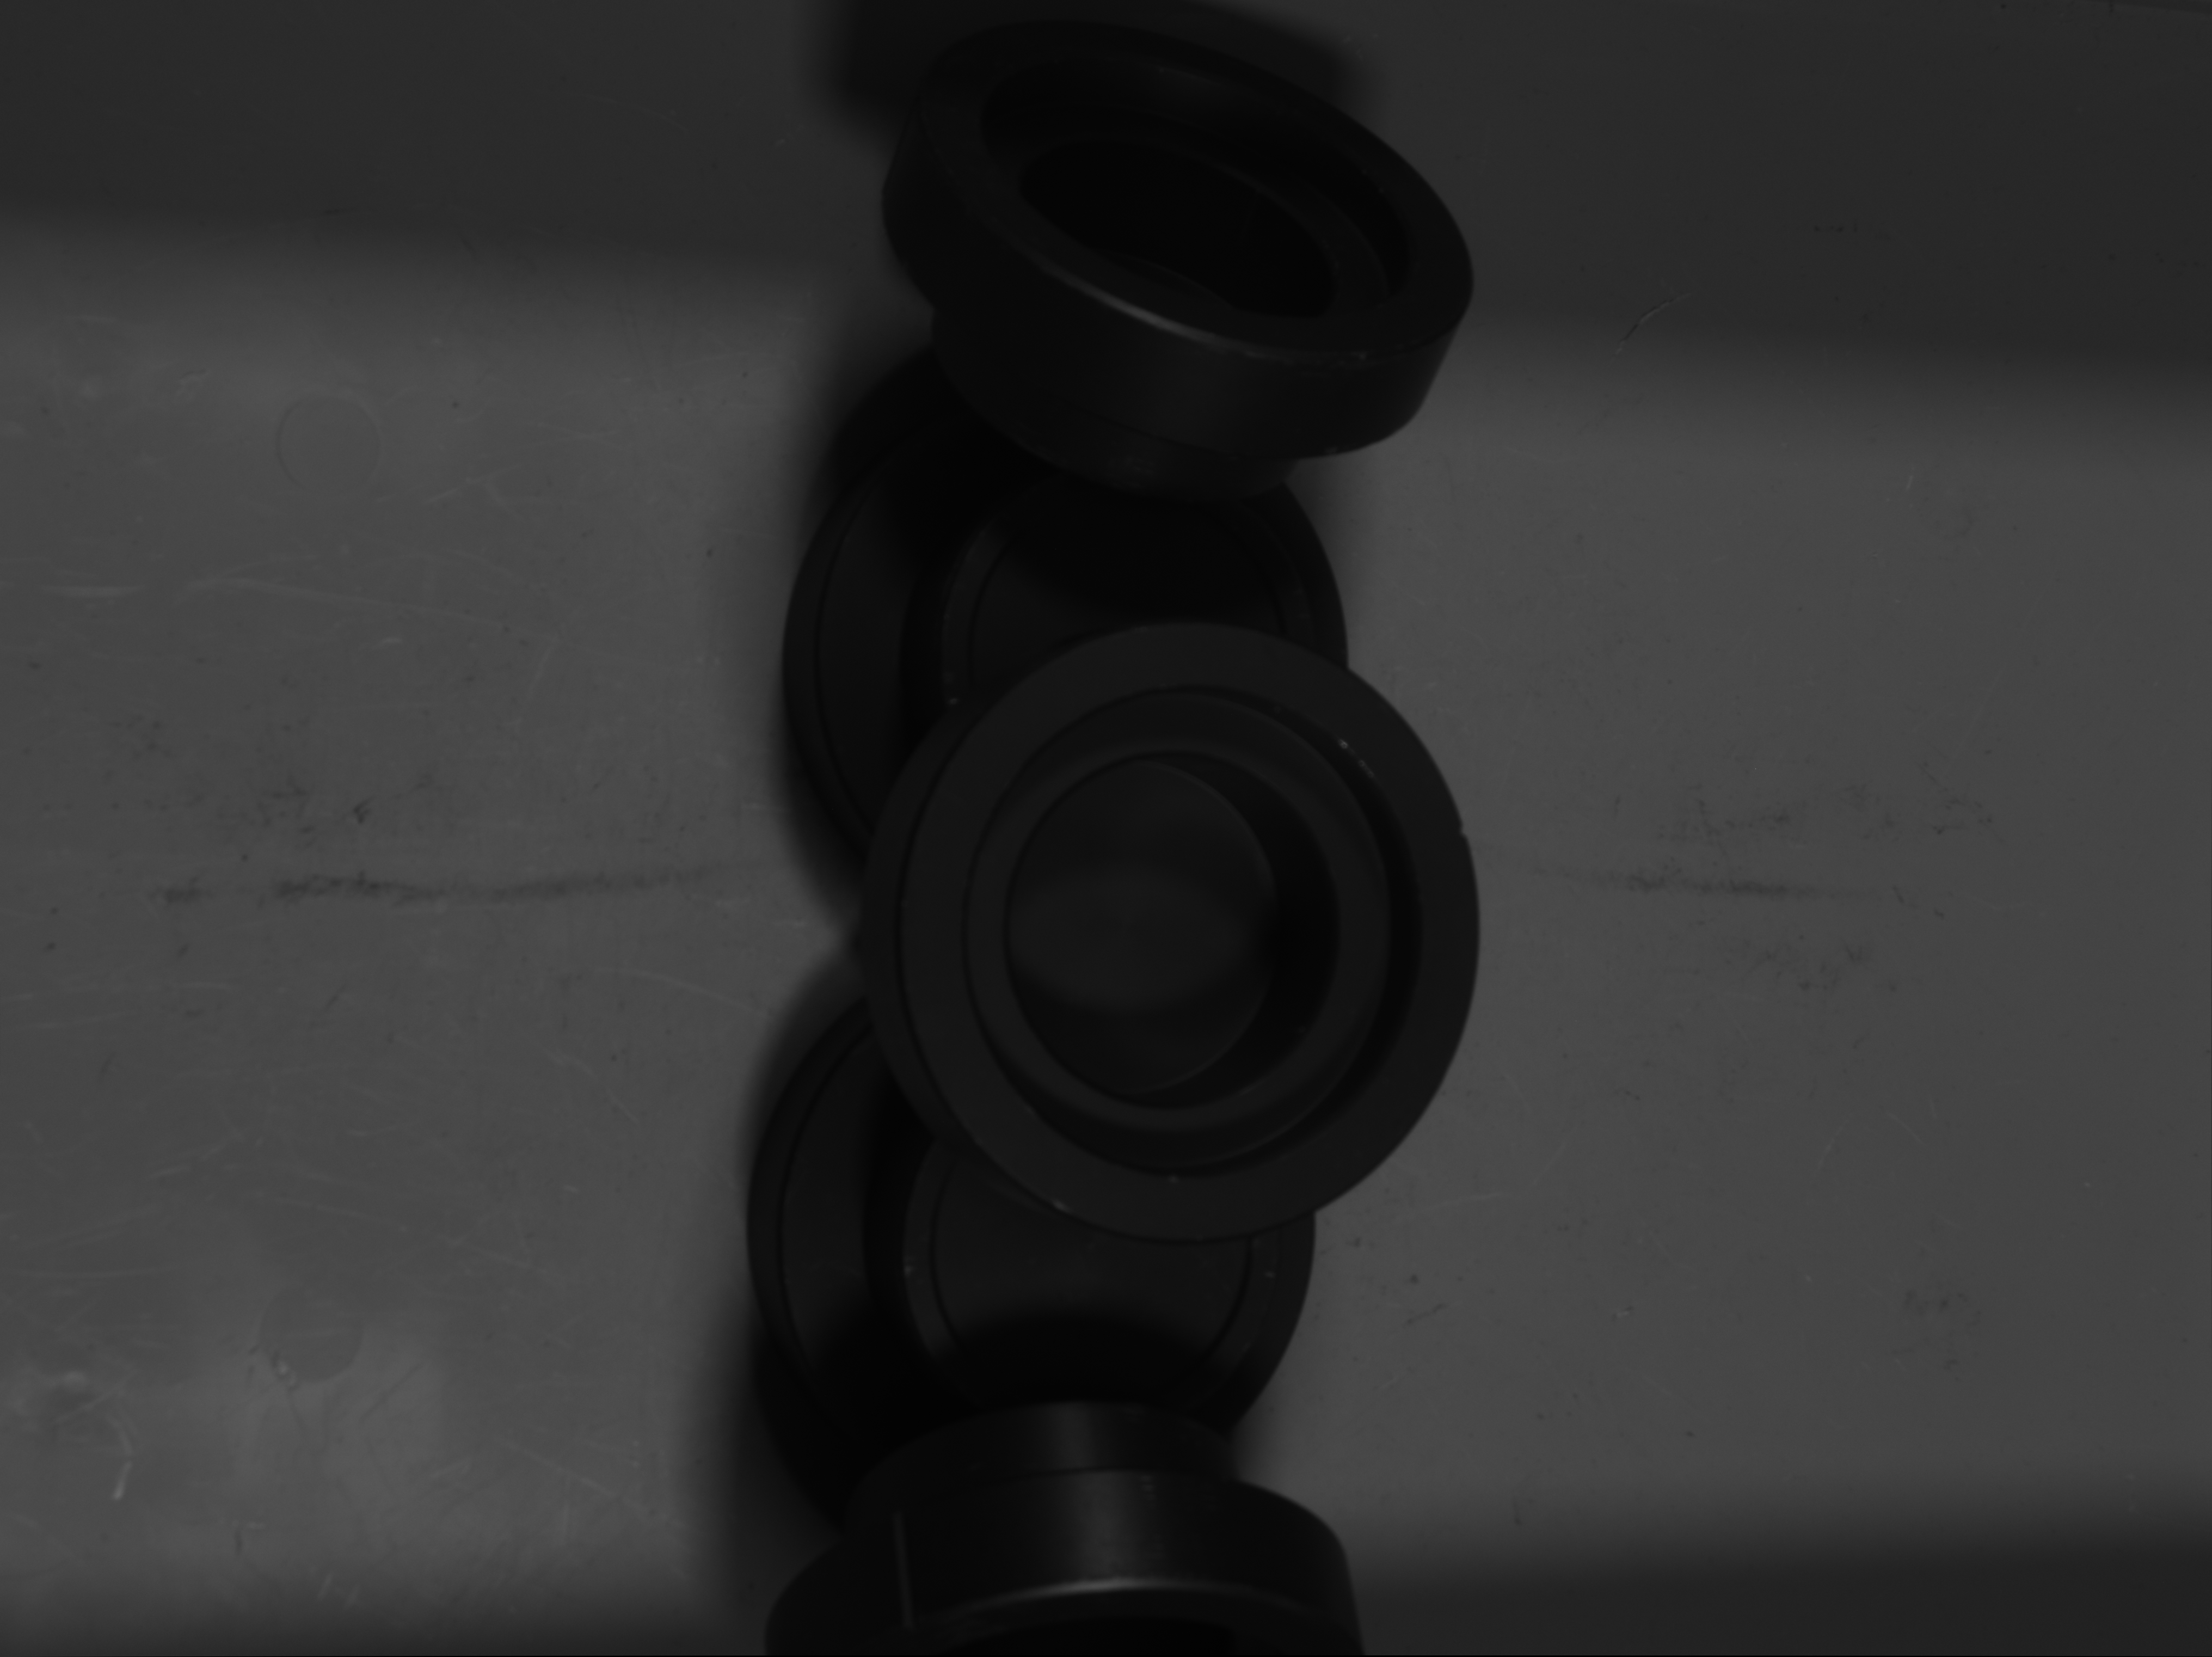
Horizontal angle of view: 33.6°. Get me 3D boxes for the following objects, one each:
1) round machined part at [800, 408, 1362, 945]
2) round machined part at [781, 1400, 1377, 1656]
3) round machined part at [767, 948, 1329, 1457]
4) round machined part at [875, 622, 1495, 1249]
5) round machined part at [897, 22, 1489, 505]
[{"bbox_3d":[0.000,-0.028,0.633,0.098,0.042,0.098,0,90,-20],"label":"round machined part"},{"bbox_3d":[-0.005,0.131,0.612,0.098,0.098,0.042,7,50,-20],"label":"round machined part"},{"bbox_3d":[-0.006,0.070,0.630,0.098,0.042,0.098,0,90,-20],"label":"round machined part"},{"bbox_3d":[0.010,0.017,0.591,0.098,0.042,0.098,0,90,-20],"label":"round machined part"},{"bbox_3d":[0.012,-0.092,0.618,0.098,0.098,0.042,8,130,-20],"label":"round machined part"}]
